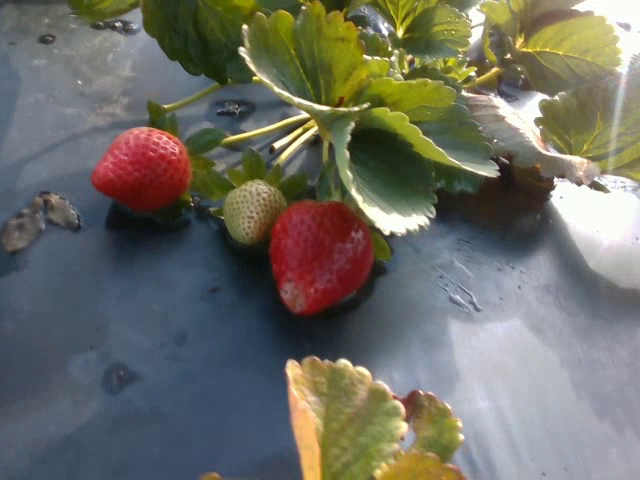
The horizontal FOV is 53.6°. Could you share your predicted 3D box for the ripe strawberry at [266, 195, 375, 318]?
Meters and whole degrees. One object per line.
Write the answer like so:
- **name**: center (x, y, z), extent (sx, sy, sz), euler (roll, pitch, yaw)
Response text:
- **ripe strawberry**: center (-0.003, 0.009, 0.265), extent (0.048, 0.065, 0.050), euler (-13, -47, 38)
